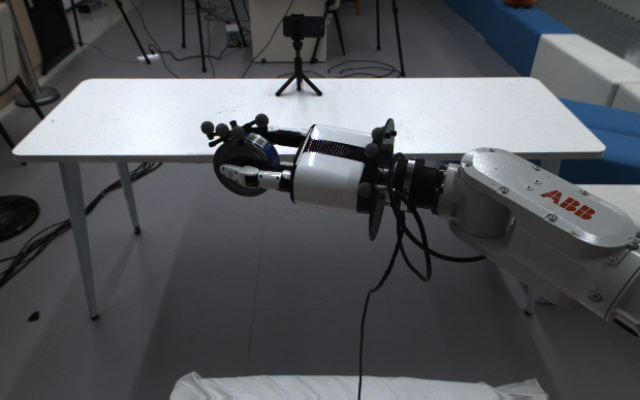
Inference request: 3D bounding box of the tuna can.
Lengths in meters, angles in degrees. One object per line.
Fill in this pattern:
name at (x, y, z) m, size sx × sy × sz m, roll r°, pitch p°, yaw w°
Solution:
tuna can at (-0.095, -0.048, 0.659) m, size 0.085 × 0.085 × 0.034 m, roll 10°, pitch 33°, yaw 11°
